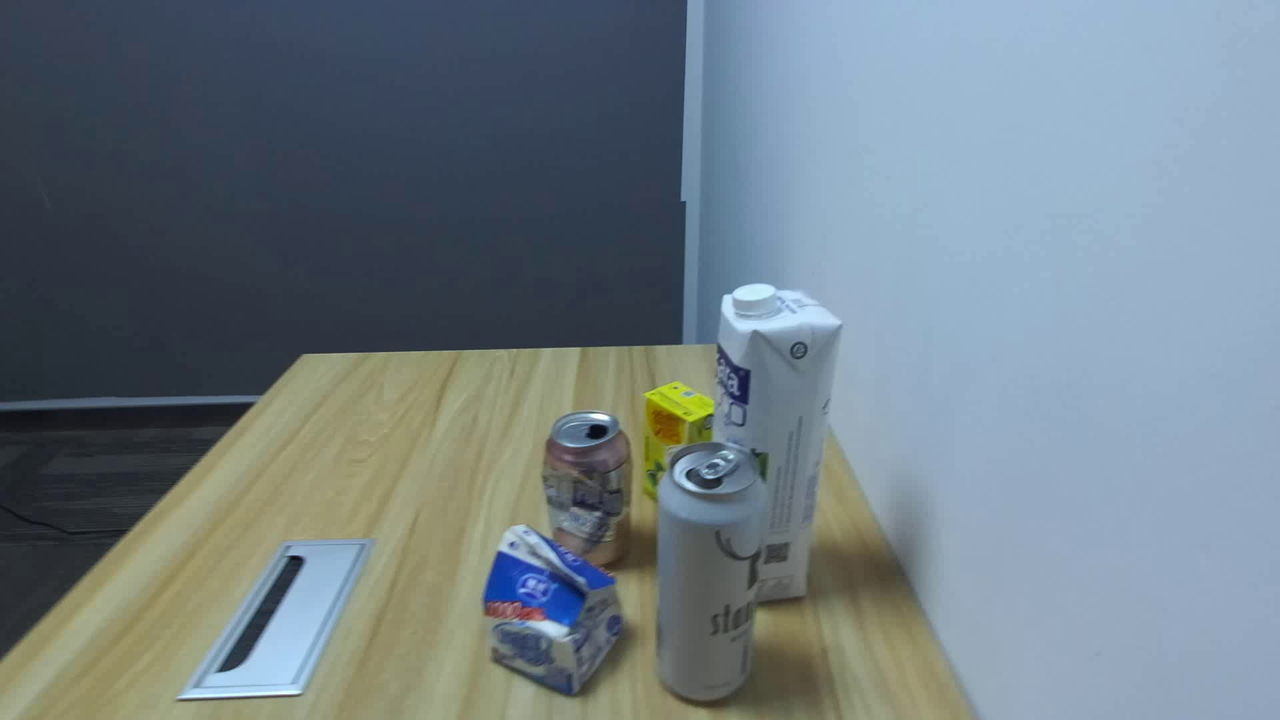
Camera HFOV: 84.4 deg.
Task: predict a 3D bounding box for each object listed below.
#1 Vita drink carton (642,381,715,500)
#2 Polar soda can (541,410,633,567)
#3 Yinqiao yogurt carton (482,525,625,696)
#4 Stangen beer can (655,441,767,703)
[{"bbox_3d":[0.039,0.083,0.639,0.044,0.109,0.066,-19,31,-33],"label":"Vita drink carton"},{"bbox_3d":[-0.040,0.108,0.581,0.067,0.122,0.074,-12,25,-21],"label":"Polar soda can"},{"bbox_3d":[-0.063,0.164,0.496,0.083,0.093,0.077,12,27,25],"label":"Yinqiao yogurt carton"},{"bbox_3d":[0.043,0.138,0.457,0.067,0.171,0.067,1,25,0],"label":"Stangen beer can"}]
